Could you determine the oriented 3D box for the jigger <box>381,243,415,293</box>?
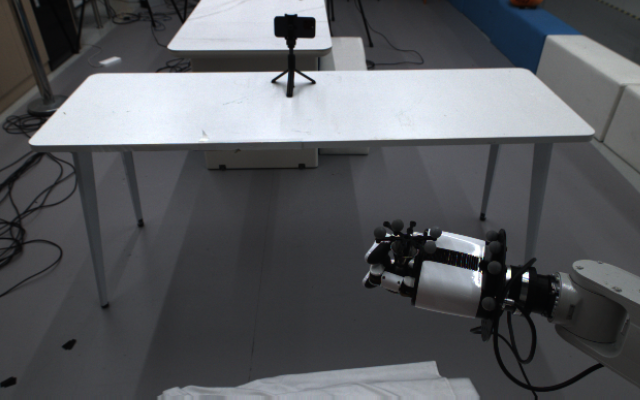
[{"bbox_3d":[0.121,0.095,0.707,0.043,0.071,0.043,4,31,-2],"label":"jigger"}]
